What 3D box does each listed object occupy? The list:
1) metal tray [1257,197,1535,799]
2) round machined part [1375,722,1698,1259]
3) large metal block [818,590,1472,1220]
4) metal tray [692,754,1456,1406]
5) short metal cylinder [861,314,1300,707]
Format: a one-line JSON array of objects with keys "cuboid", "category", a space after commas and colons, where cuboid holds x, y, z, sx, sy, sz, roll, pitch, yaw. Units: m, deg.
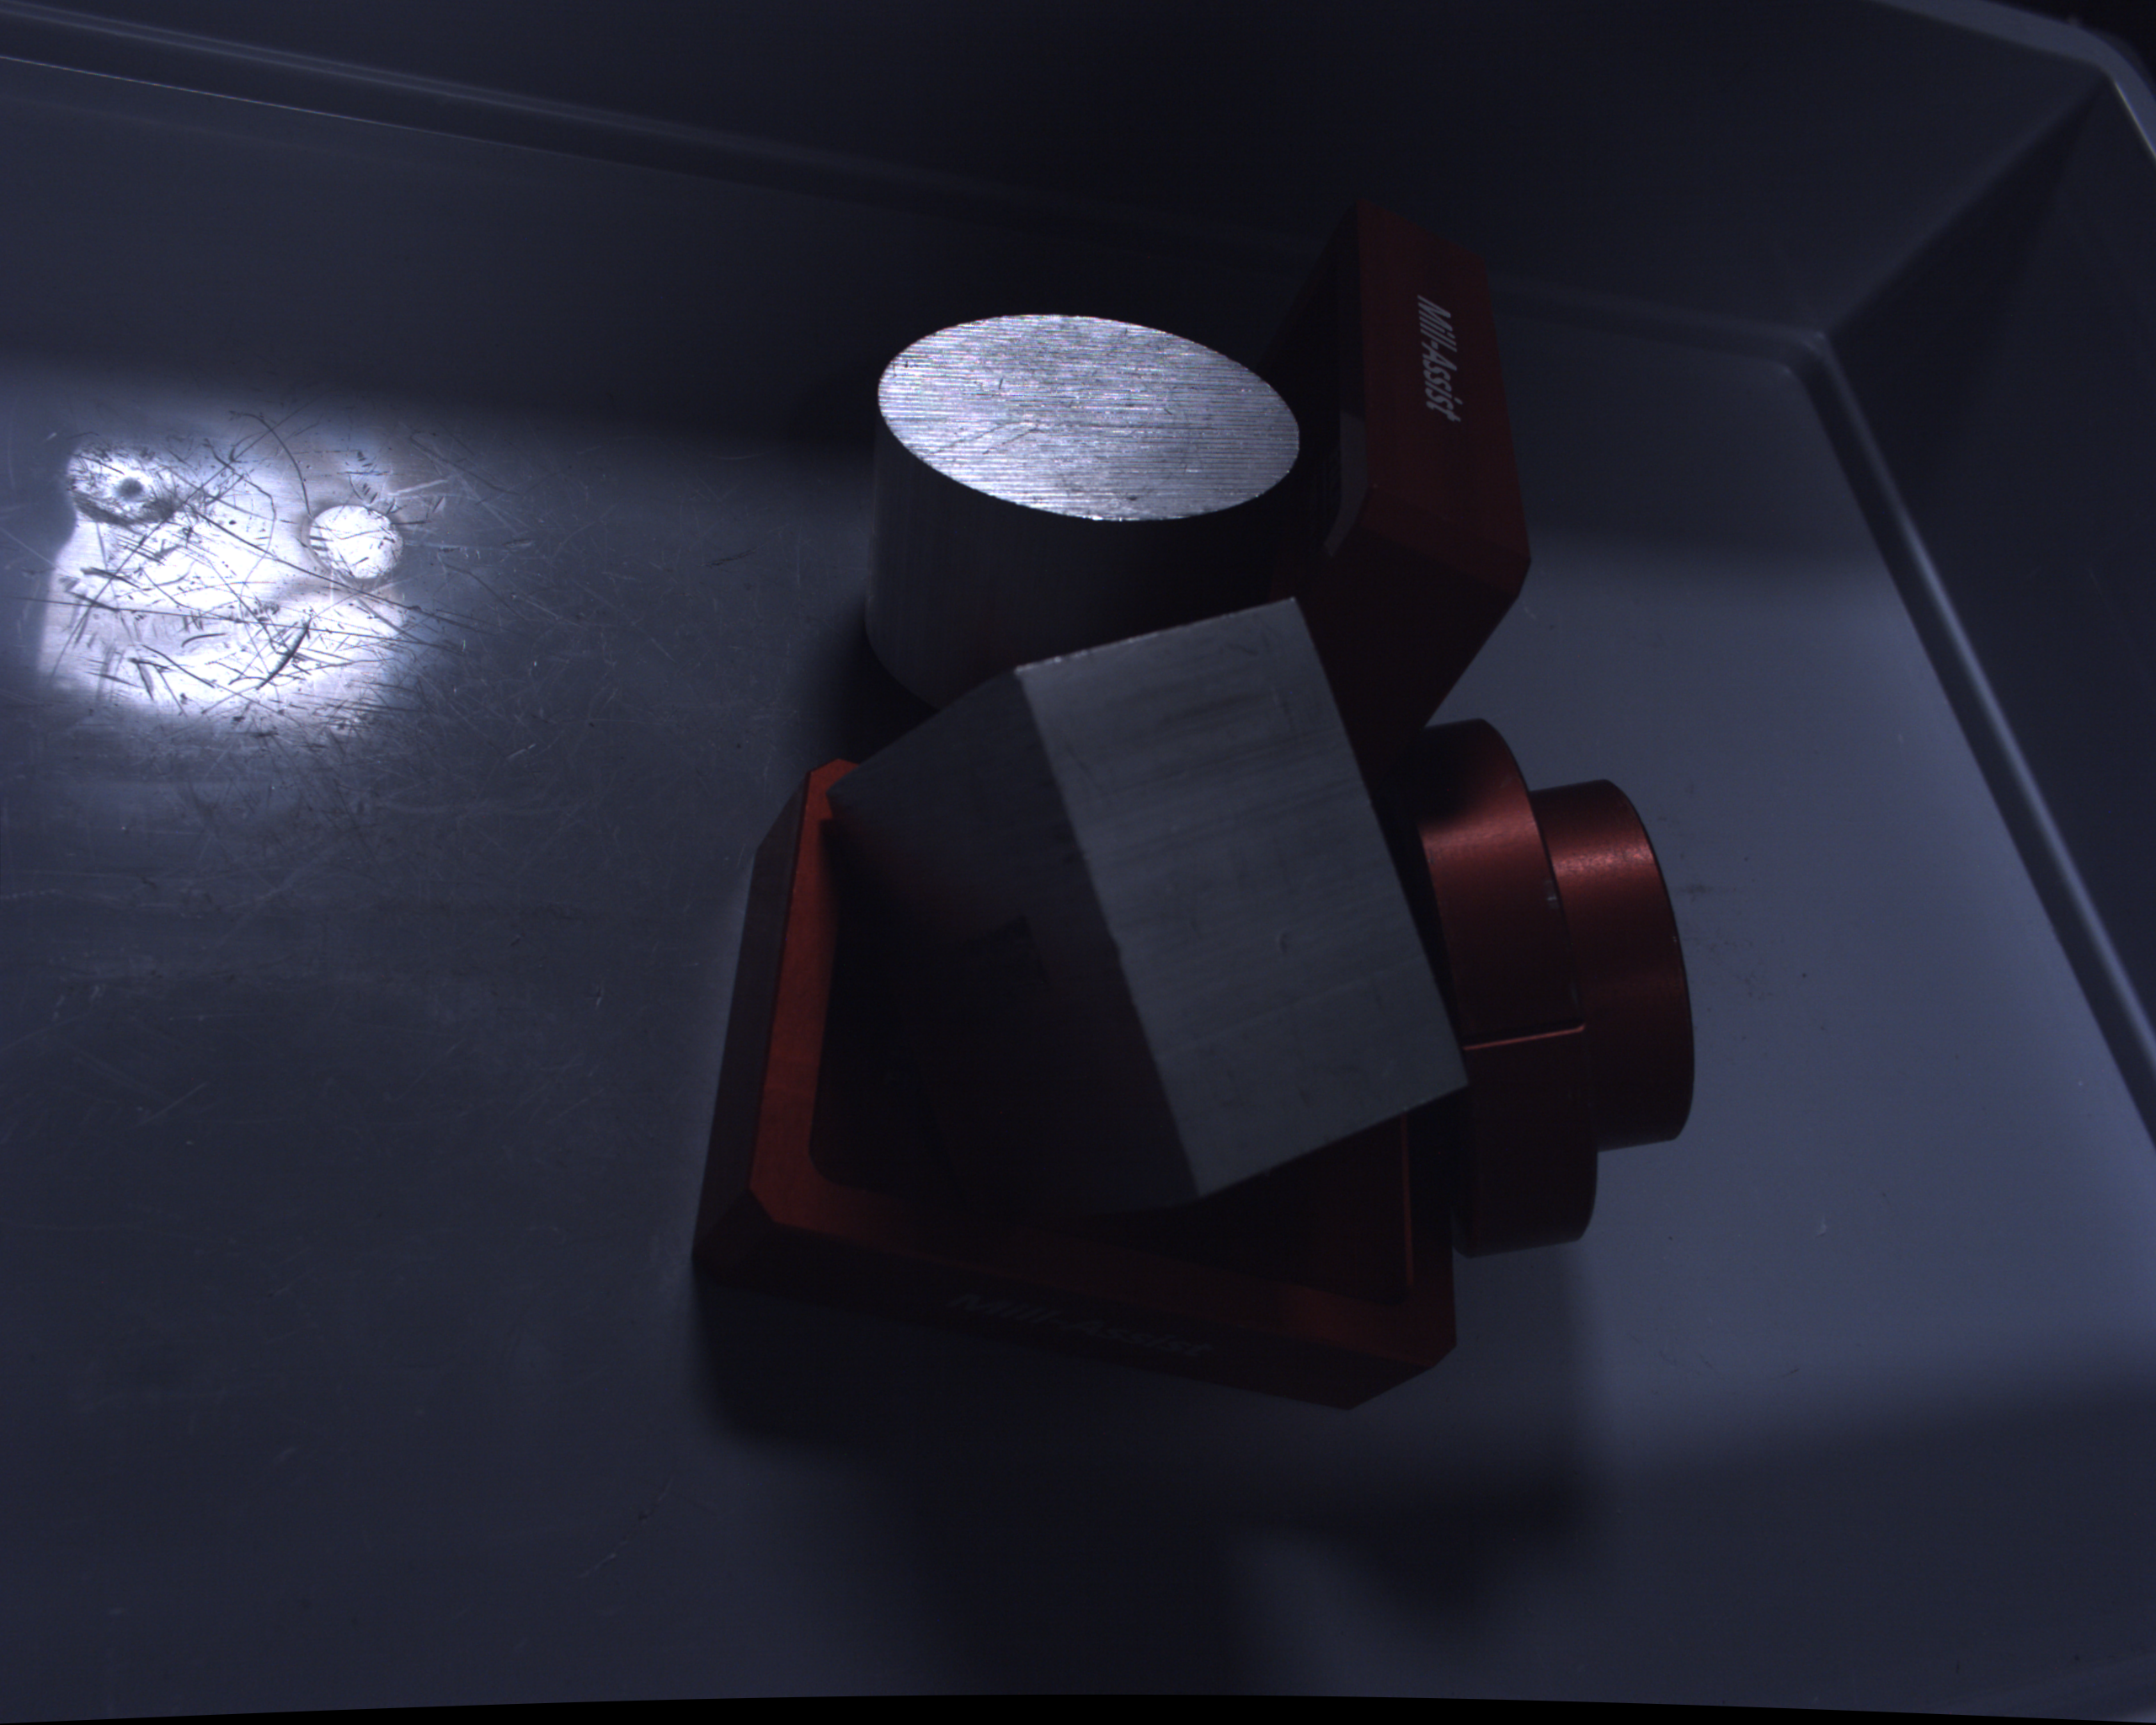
[{"cuboid": [0.047, -0.062, 0.407, 0.030, 0.089, 0.130, 22, 38, -12], "category": "metal tray"}, {"cuboid": [0.083, 0.021, 0.386, 0.042, 0.098, 0.098, -9, 63, 1], "category": "round machined part"}, {"cuboid": [0.007, 0.010, 0.338, 0.050, 0.080, 0.080, -18, 87, -29], "category": "large metal block"}, {"cuboid": [0.003, 0.040, 0.378, 0.131, 0.030, 0.090, 16, 55, -19], "category": "metal tray"}, {"cuboid": [-0.001, -0.067, 0.410, 0.081, 0.050, 0.080, 6, 39, -4], "category": "short metal cylinder"}]
